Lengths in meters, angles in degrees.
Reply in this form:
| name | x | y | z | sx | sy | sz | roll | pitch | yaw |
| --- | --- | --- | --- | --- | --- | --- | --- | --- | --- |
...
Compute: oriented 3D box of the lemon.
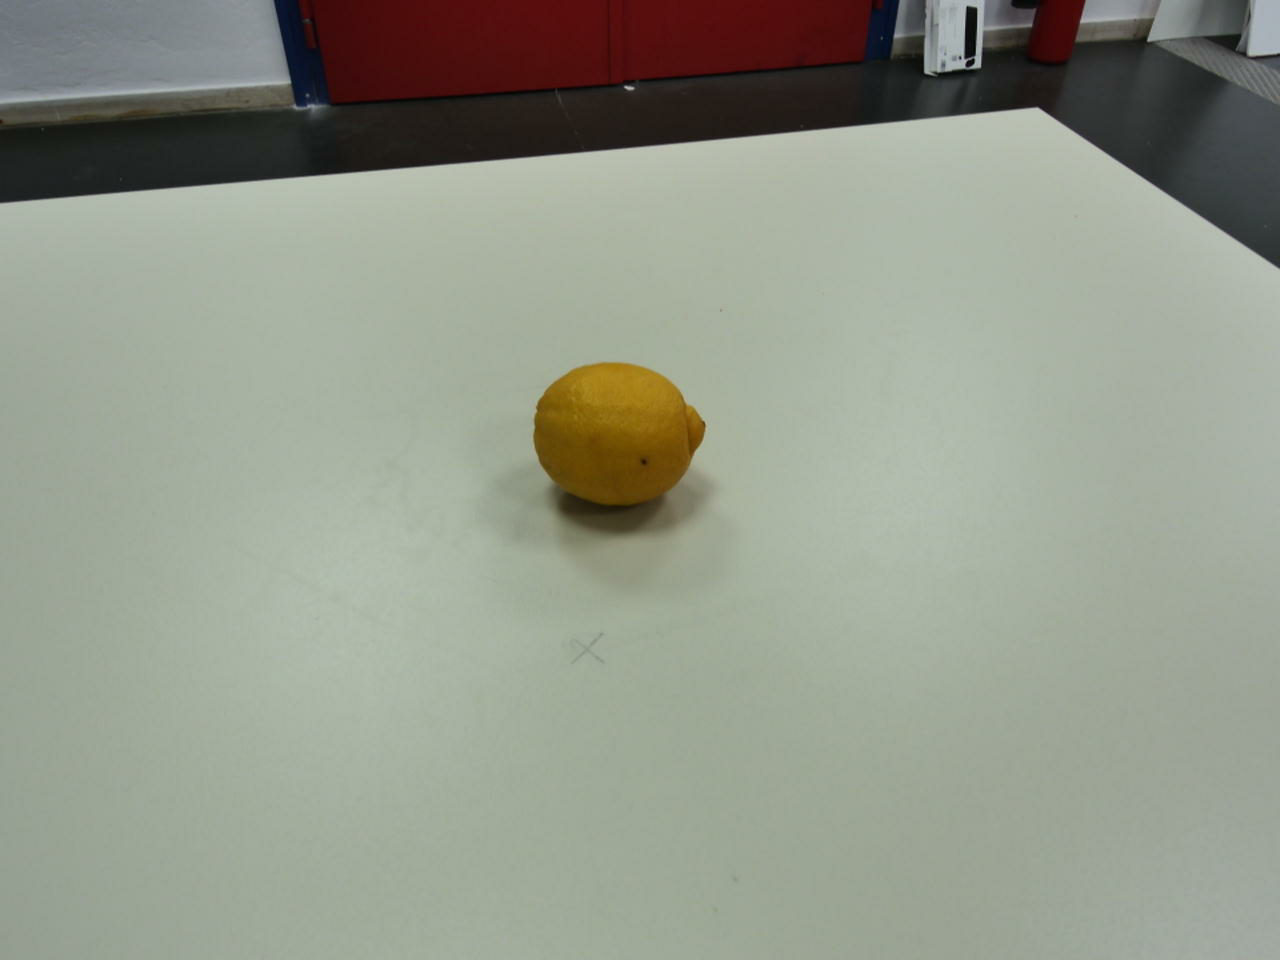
| name | x | y | z | sx | sy | sz | roll | pitch | yaw |
| --- | --- | --- | --- | --- | --- | --- | --- | --- | --- |
| lemon | -0.010 | -0.019 | 0.419 | 0.067 | 0.059 | 0.060 | 19 | 42 | 22 |
